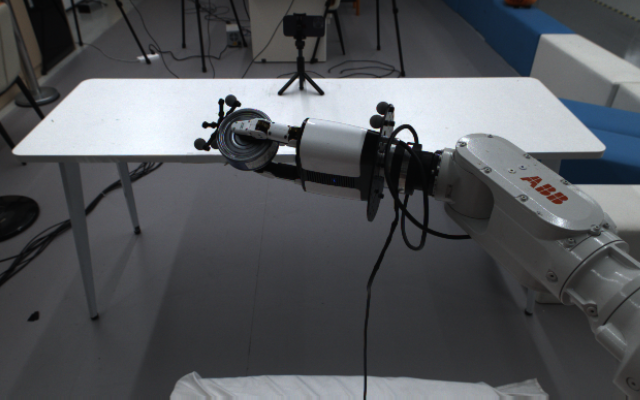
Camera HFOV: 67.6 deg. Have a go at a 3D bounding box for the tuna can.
[{"bbox_3d":[-0.101,-0.084,0.688,0.085,0.034,0.085,-2,72,6],"label":"tuna can"}]
